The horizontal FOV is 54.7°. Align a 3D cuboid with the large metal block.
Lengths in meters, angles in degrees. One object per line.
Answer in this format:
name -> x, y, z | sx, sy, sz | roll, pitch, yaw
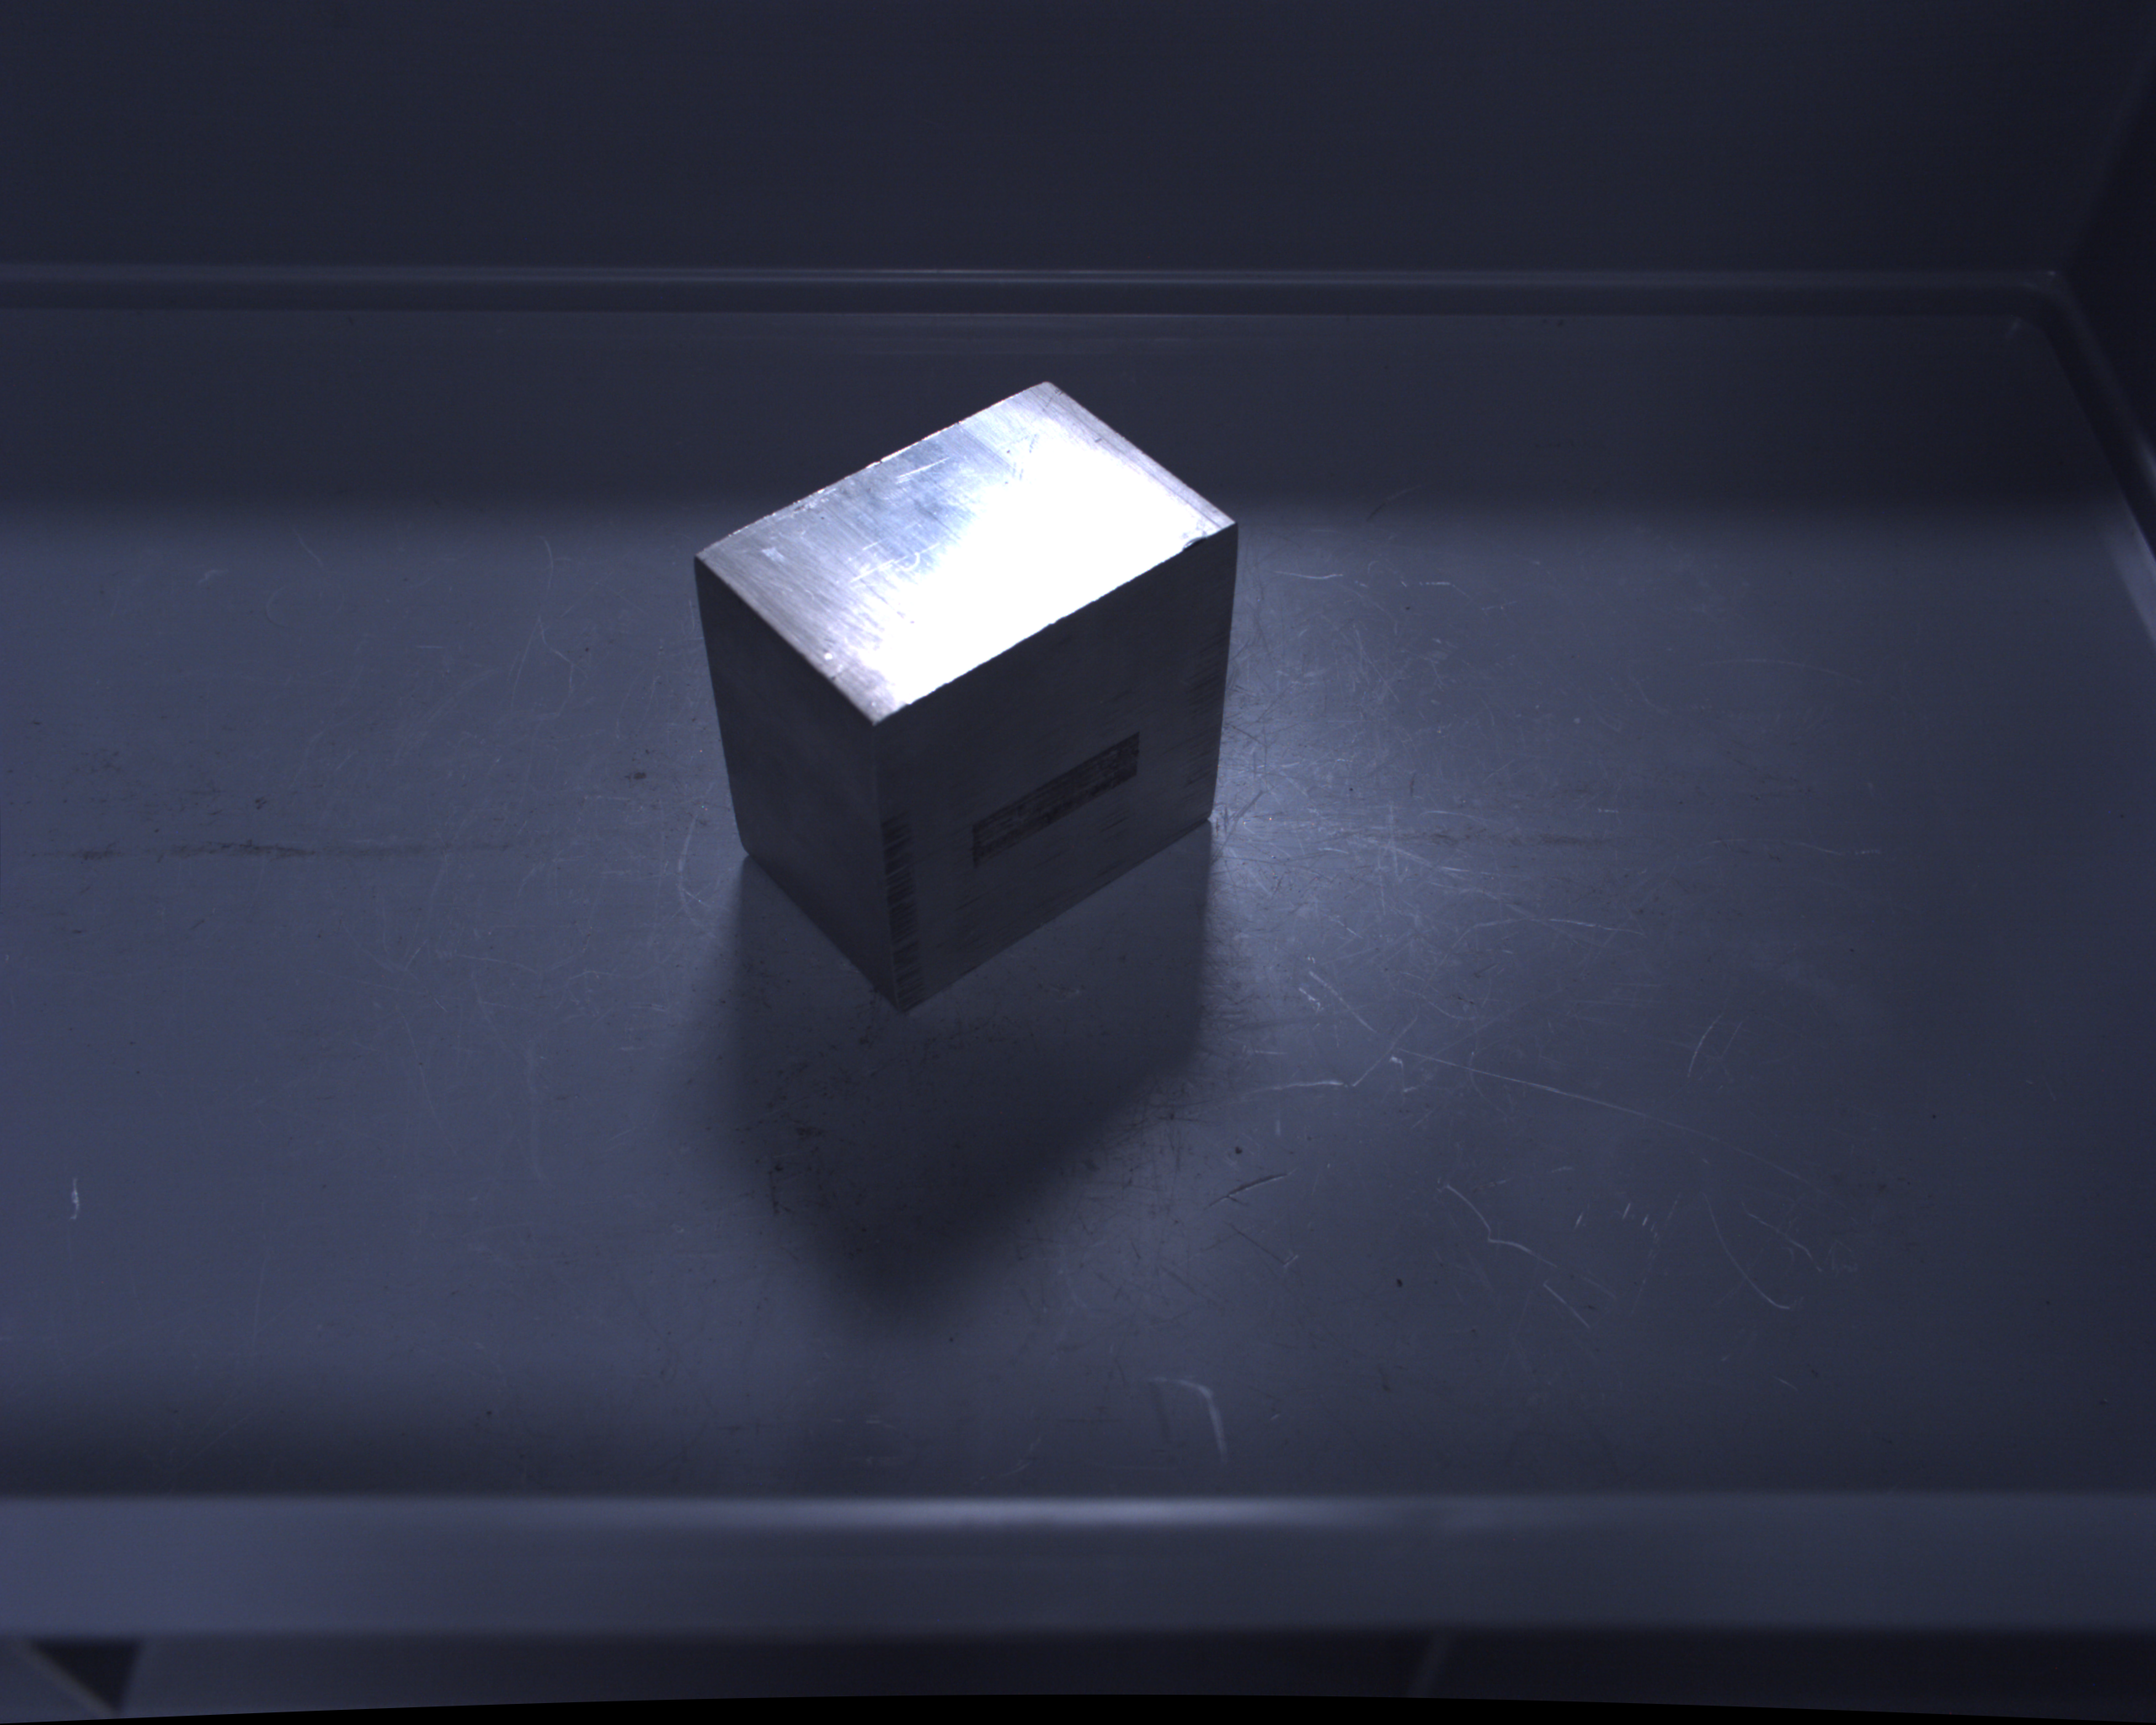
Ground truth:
large metal block -> -0.019, -0.032, 0.392 | 0.081, 0.080, 0.050 | -33, 58, -25
